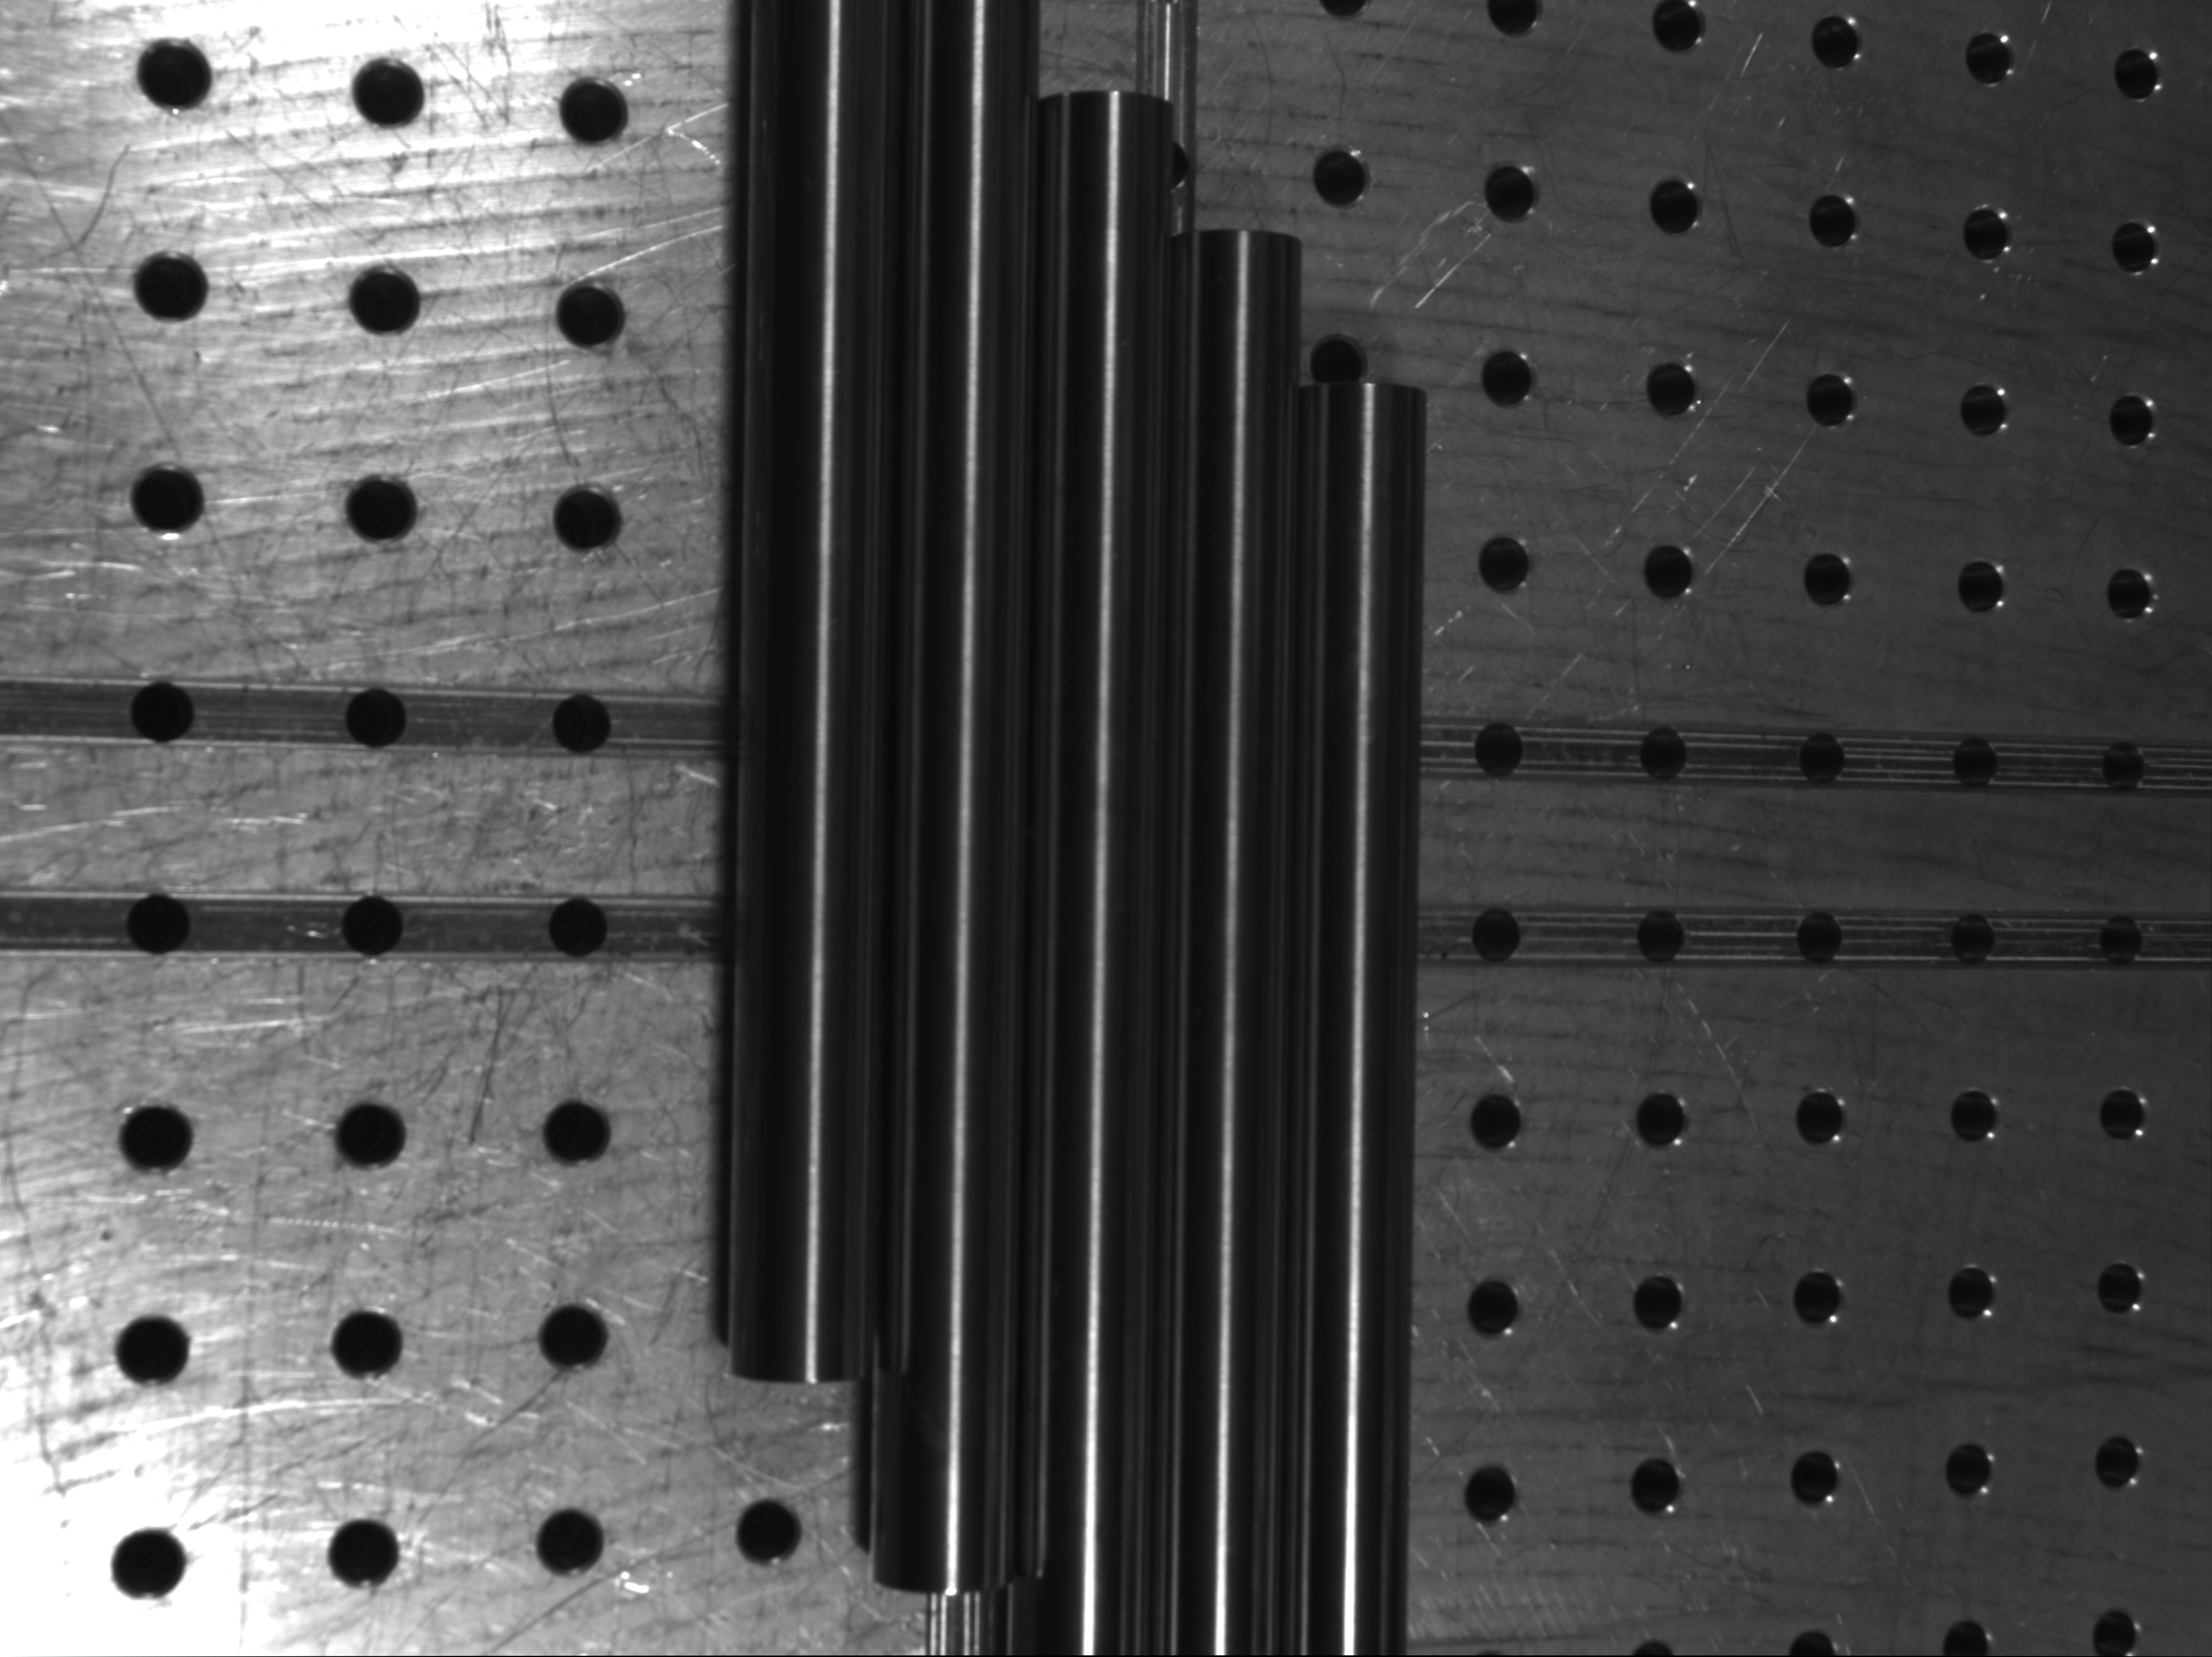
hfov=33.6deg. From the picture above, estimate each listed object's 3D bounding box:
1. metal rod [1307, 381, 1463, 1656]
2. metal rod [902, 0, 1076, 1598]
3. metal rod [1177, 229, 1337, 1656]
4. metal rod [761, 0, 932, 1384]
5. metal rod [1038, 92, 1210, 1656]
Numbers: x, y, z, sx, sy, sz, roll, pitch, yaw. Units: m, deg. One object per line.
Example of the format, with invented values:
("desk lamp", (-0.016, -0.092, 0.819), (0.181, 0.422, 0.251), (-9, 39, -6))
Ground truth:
("metal rod", (0.049, 0.070, 0.663), (0.025, 0.025, 0.300), (1, 90, -20))
("metal rod", (-0.020, -0.019, 0.638), (0.025, 0.025, 0.300), (1, 90, -20))
("metal rod", (0.026, 0.045, 0.654), (0.025, 0.025, 0.300), (1, 90, -20))
("metal rod", (-0.044, -0.056, 0.630), (0.025, 0.025, 0.300), (1, 90, -20))
("metal rod", (0.003, 0.022, 0.646), (0.025, 0.025, 0.300), (1, 90, -20))
